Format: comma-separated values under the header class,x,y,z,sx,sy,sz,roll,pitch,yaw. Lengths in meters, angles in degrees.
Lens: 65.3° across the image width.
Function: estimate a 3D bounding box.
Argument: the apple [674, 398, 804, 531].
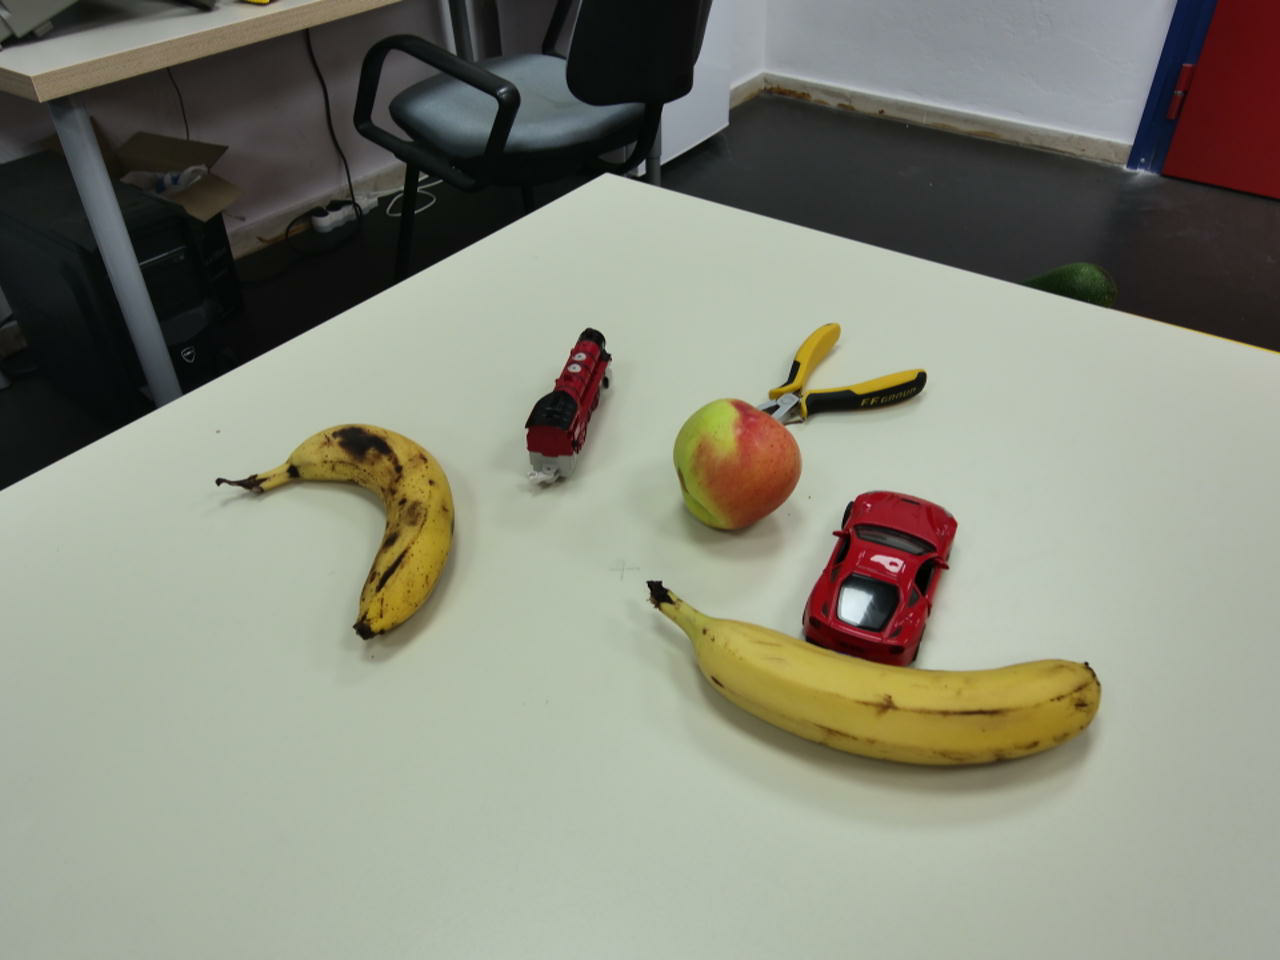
class,x,y,z,sx,sy,sz,roll,pitch,yaw
apple,0.055,-0.008,0.580,0.075,0.074,0.075,11,38,14
